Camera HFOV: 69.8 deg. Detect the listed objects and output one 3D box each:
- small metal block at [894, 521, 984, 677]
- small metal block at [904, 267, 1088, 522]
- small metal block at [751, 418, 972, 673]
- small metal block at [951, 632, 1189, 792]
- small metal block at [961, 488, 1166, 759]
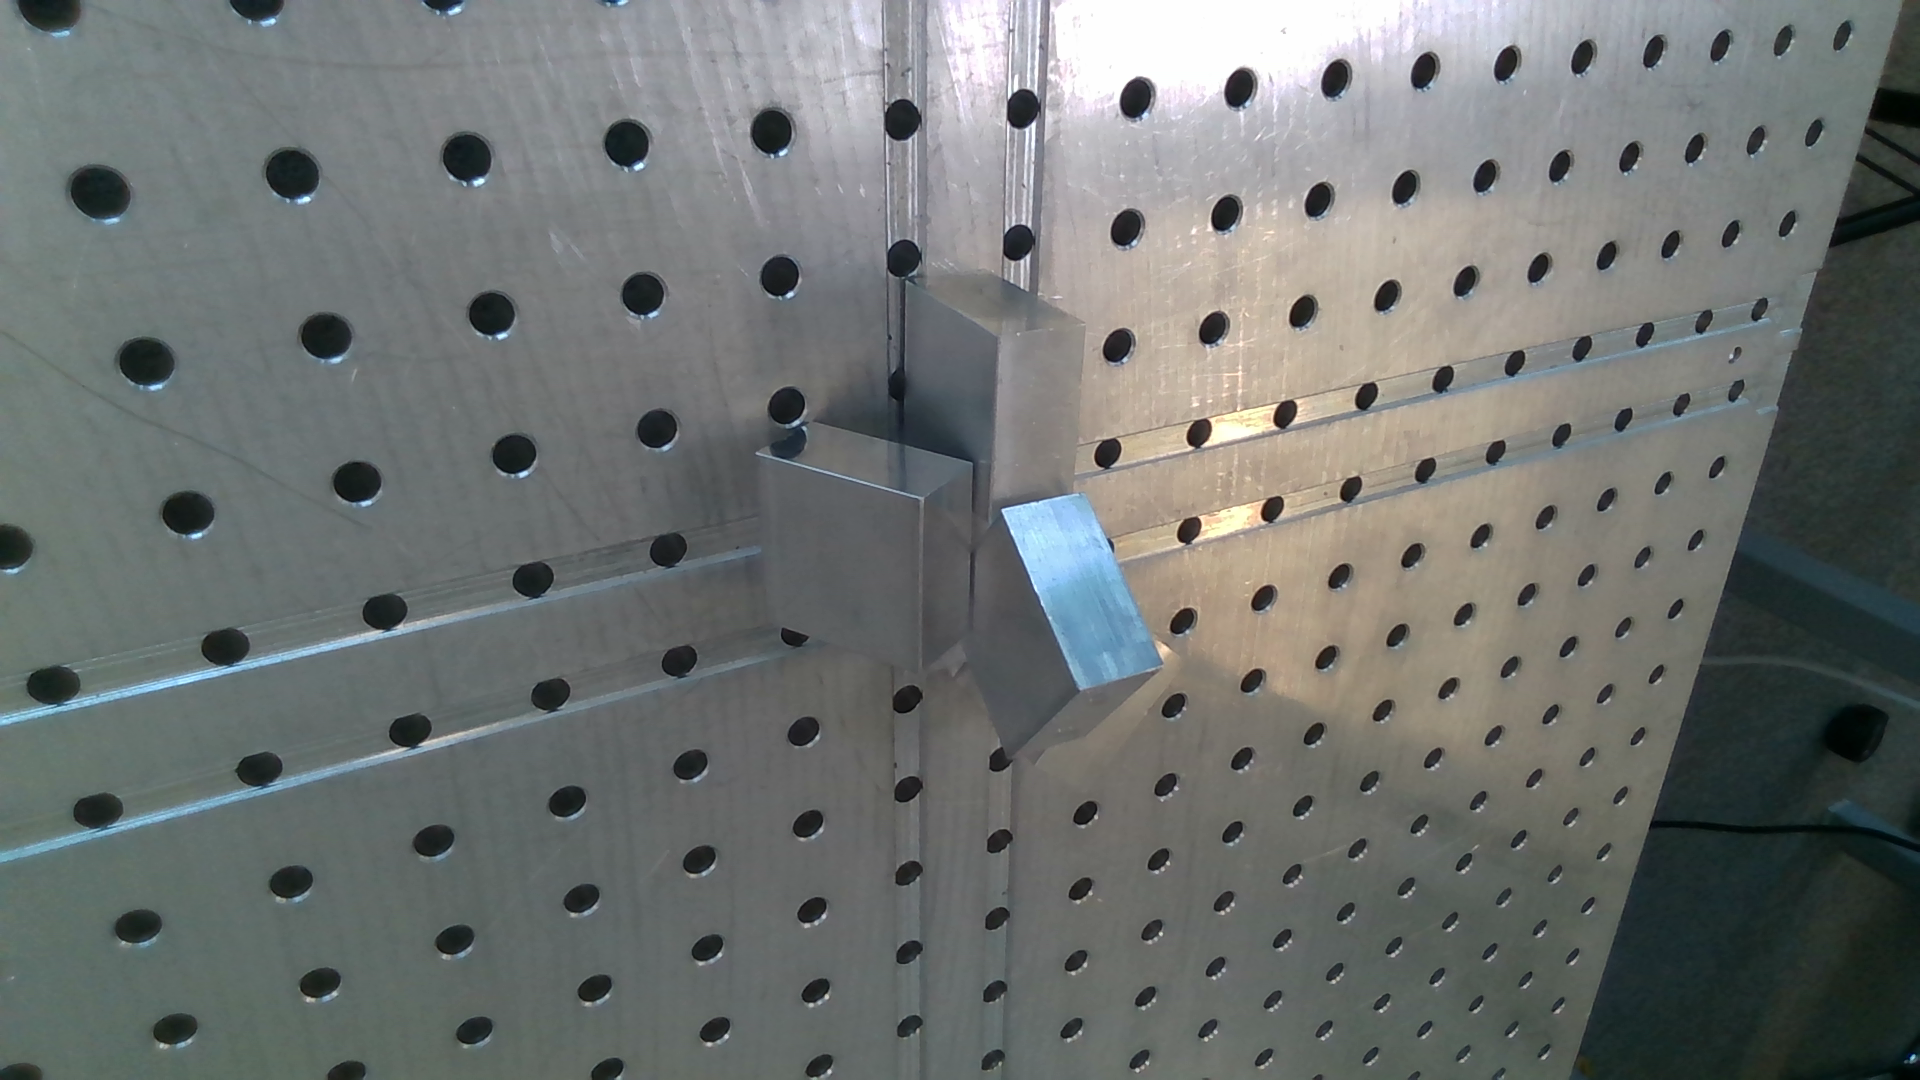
[{"bbox_3d":[0.001,0.006,0.396,0.050,0.025,0.050,-13,122,-26],"label":"small metal block"},{"bbox_3d":[0.008,-0.039,0.359,0.025,0.050,0.050,-13,120,-25],"label":"small metal block"},{"bbox_3d":[-0.025,0.001,0.358,0.025,0.050,0.050,-38,137,-51],"label":"small metal block"},{"bbox_3d":[0.032,0.039,0.417,0.025,0.050,0.050,34,95,-40],"label":"small metal block"},{"bbox_3d":[0.022,0.022,0.356,0.025,0.050,0.050,-12,157,-26],"label":"small metal block"}]
